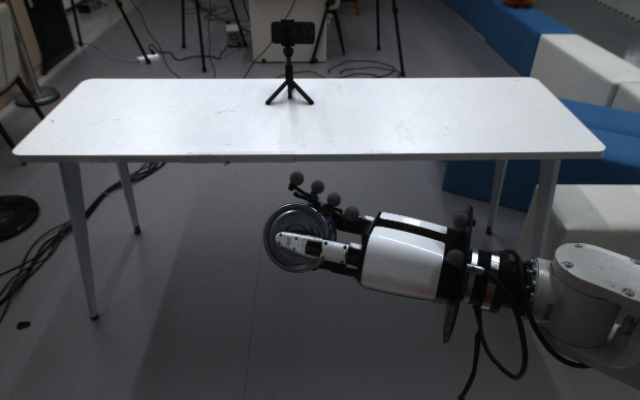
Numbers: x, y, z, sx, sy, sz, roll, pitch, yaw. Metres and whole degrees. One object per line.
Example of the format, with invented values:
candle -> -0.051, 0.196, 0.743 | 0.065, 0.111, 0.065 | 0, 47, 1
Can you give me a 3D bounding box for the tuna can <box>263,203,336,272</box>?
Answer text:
tuna can -> -0.021, 0.050, 0.585 | 0.085, 0.085, 0.034 | 12, 4, 15
